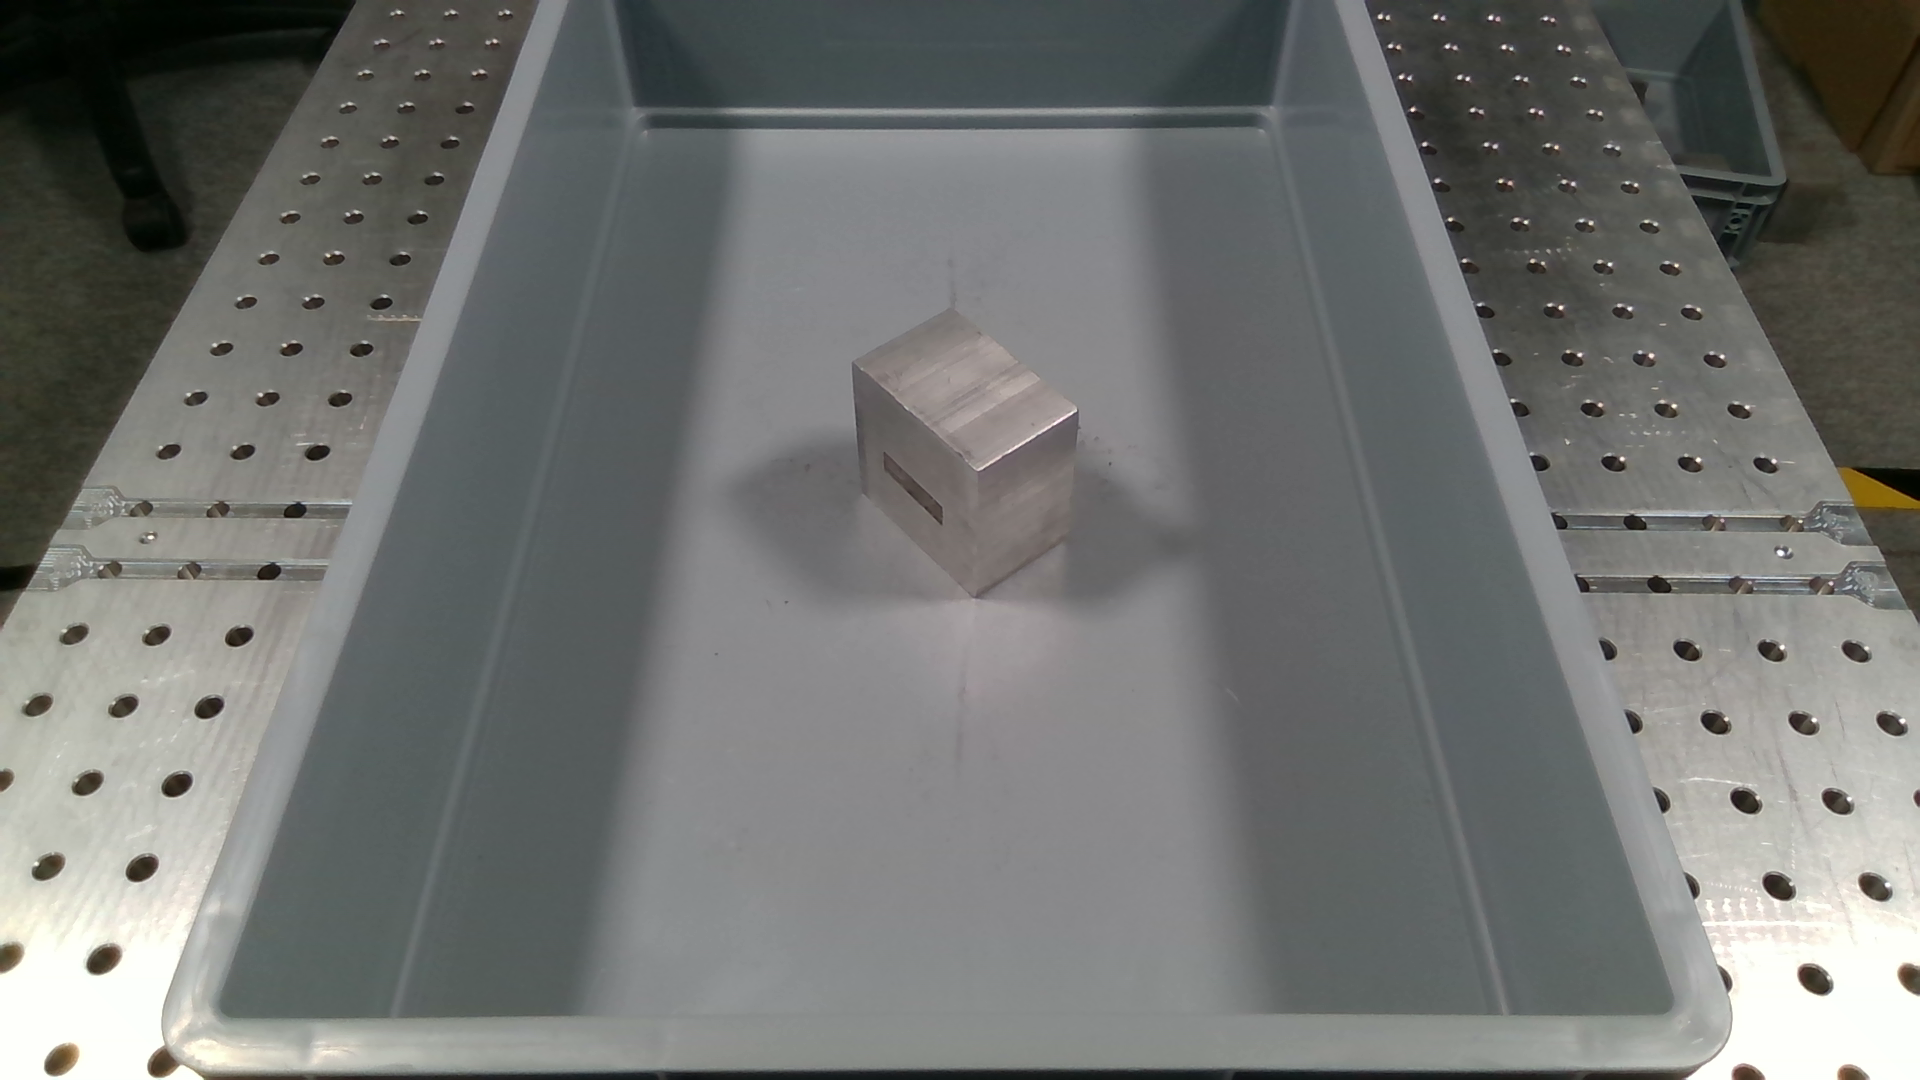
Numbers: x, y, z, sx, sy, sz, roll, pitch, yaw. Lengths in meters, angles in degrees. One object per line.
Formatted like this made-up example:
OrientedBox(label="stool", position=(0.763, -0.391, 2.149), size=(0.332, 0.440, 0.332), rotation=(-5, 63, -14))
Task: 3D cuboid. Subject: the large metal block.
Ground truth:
OrientedBox(label="large metal block", position=(0.001, -0.037, 0.579), size=(0.050, 0.080, 0.080), rotation=(-33, 57, -24))
